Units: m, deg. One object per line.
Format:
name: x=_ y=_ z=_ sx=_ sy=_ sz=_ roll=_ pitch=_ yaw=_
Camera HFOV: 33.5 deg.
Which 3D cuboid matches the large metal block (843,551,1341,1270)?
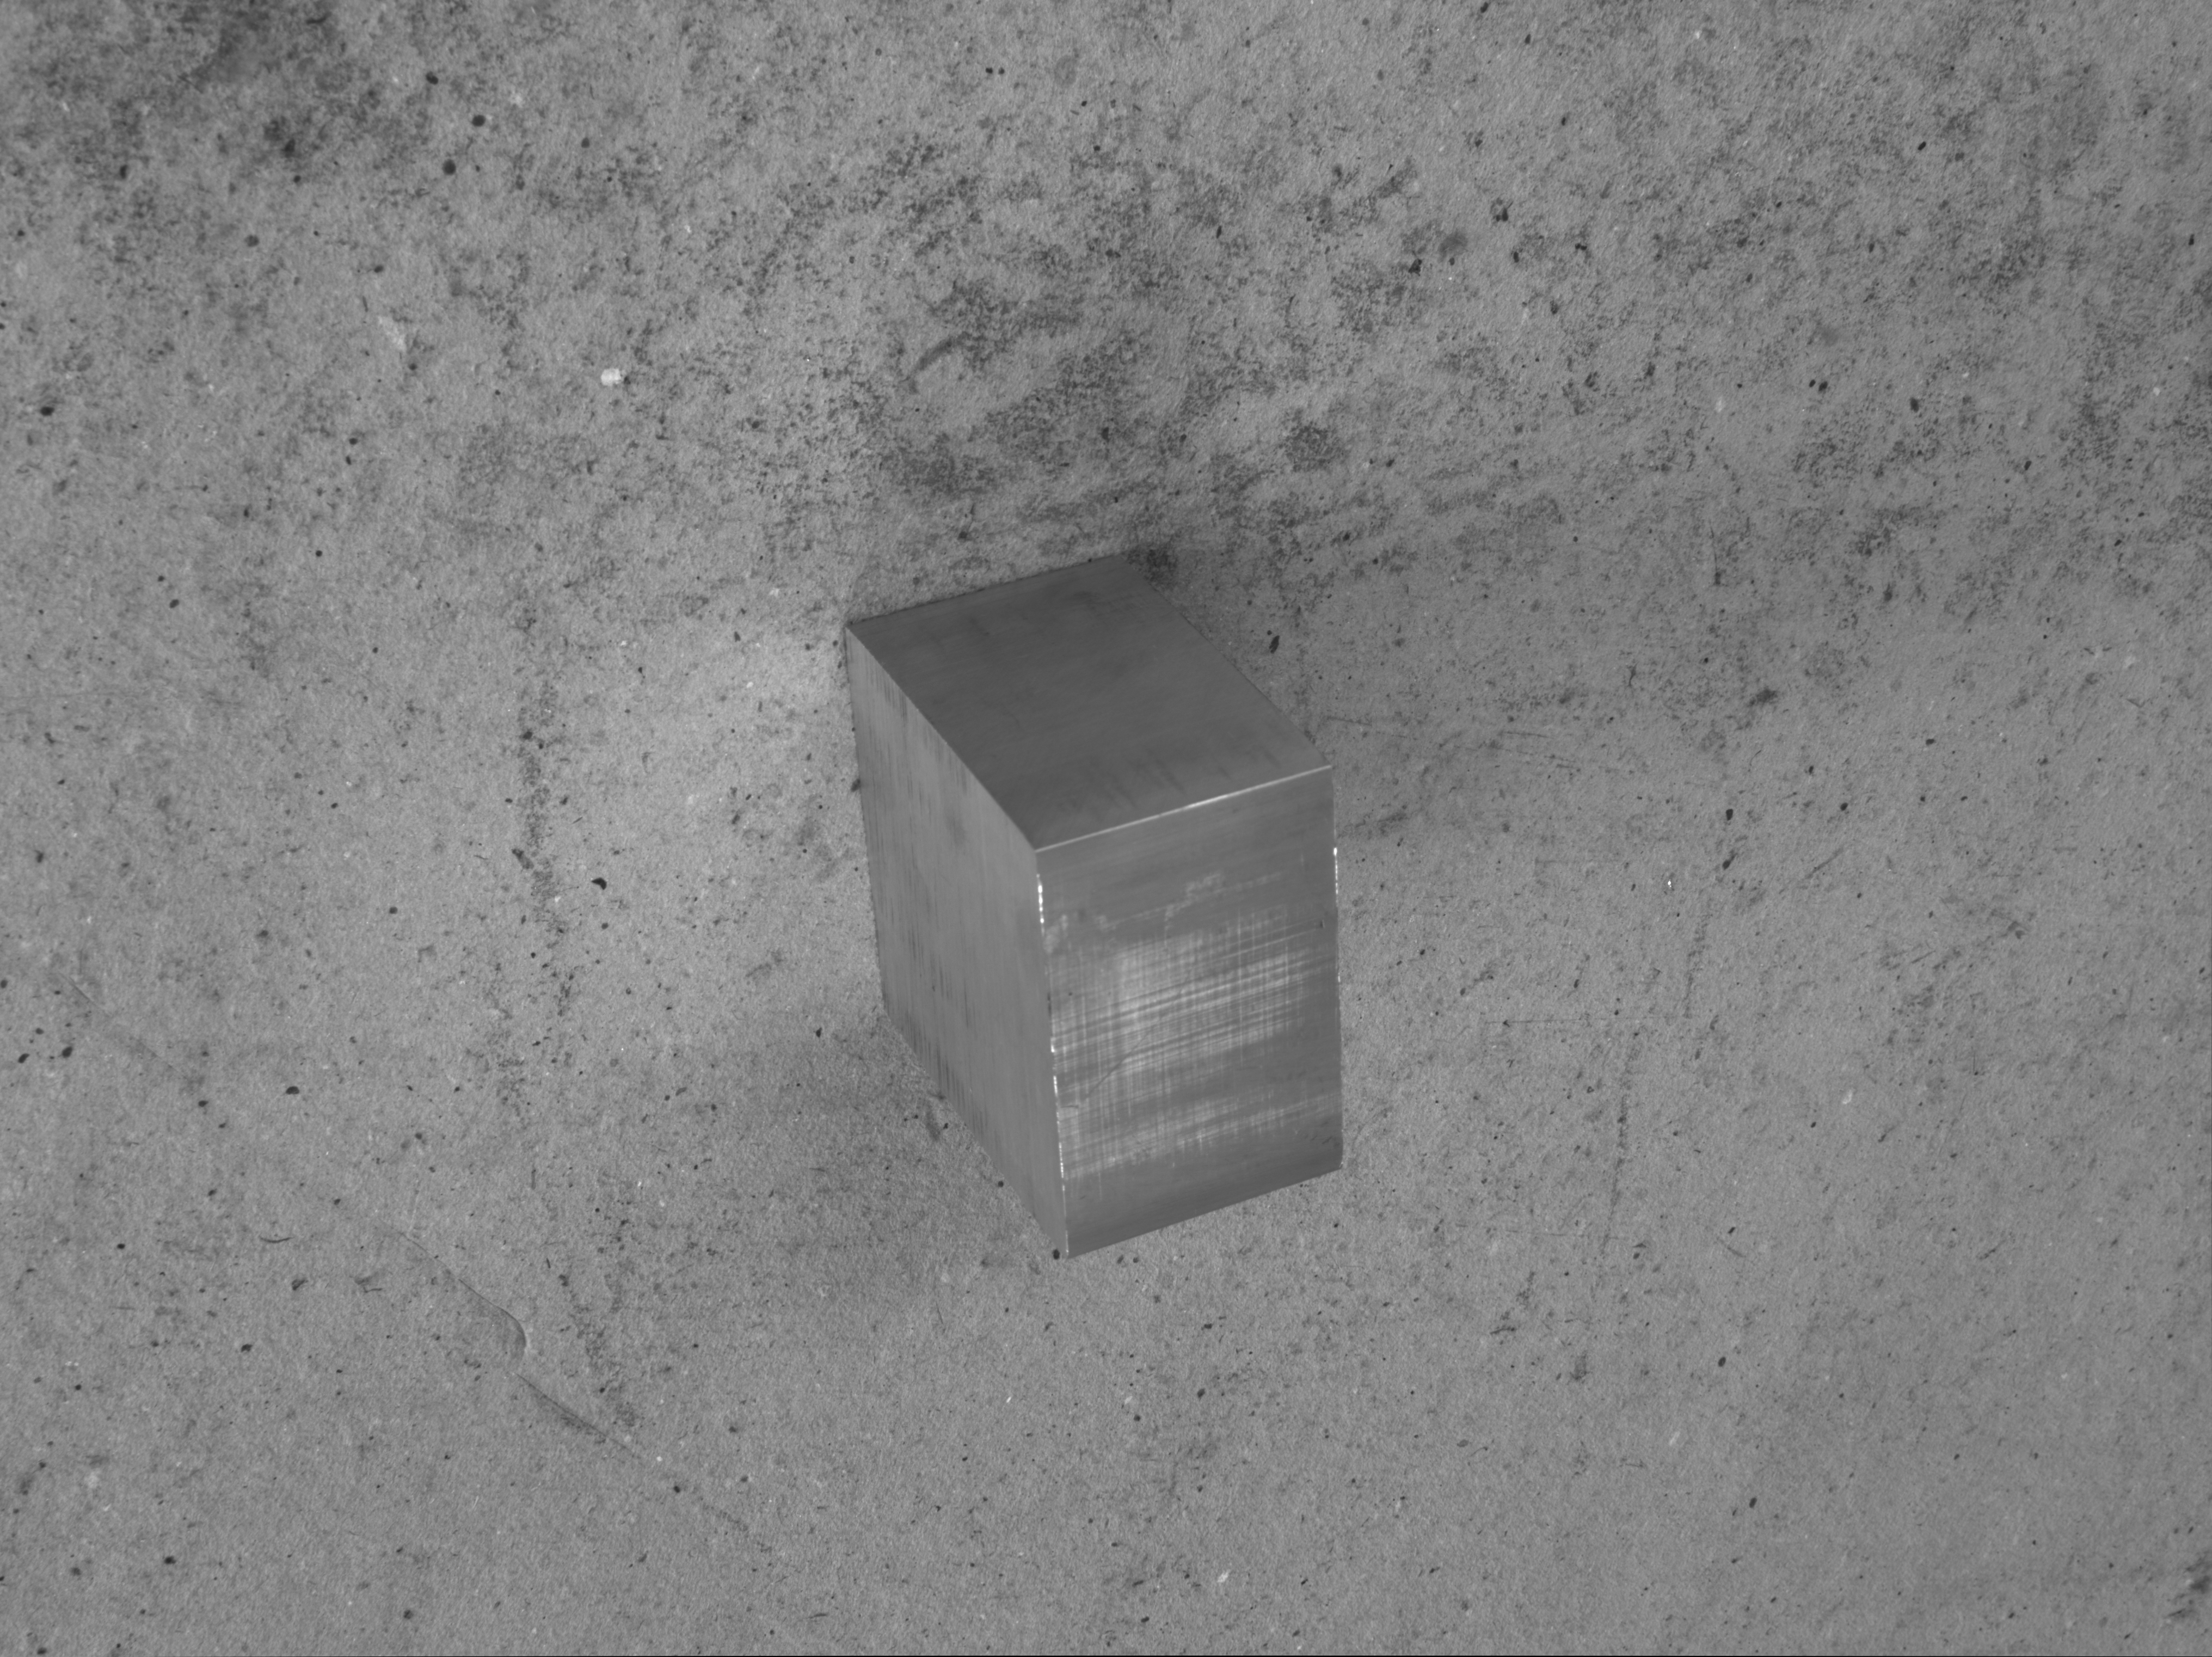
large metal block: x=-0.002 y=0.012 z=0.608 sx=0.050 sy=0.080 sz=0.080 roll=-16 pitch=125 yaw=-19
